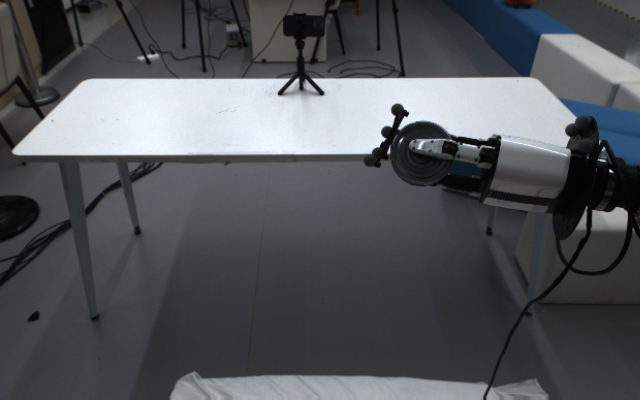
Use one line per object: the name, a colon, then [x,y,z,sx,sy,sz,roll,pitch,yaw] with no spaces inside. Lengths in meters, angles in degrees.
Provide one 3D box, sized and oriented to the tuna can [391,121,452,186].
tuna can: [0.140,-0.065,0.659,0.085,0.085,0.034,8,-5,9]
